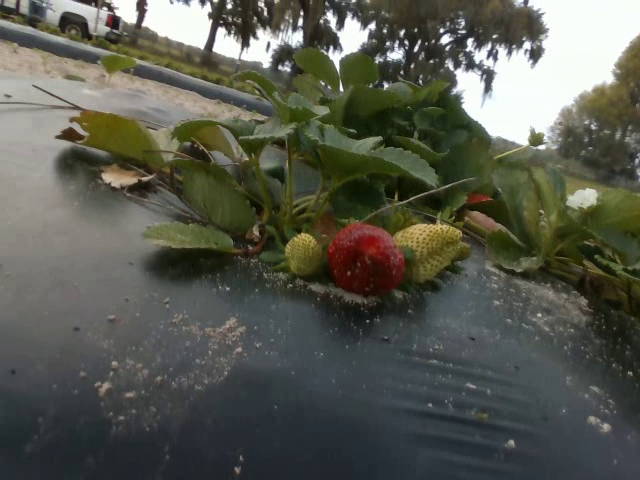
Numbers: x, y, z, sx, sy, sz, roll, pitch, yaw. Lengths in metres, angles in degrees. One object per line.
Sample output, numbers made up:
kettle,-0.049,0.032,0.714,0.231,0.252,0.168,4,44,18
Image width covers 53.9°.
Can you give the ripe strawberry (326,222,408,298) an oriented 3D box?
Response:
ripe strawberry,0.026,0.011,0.314,0.046,0.046,0.059,7,-11,-8
